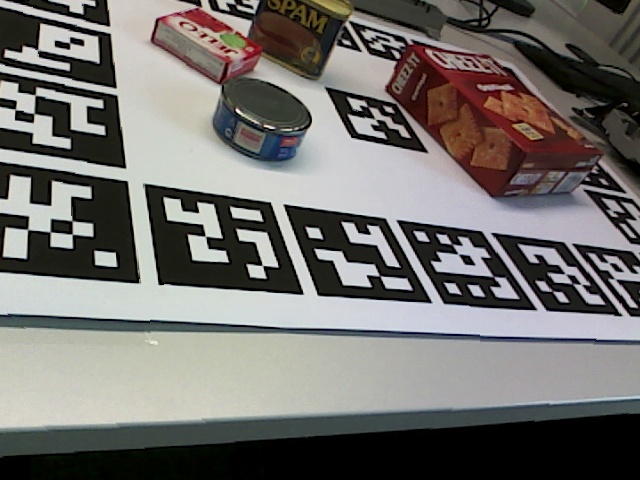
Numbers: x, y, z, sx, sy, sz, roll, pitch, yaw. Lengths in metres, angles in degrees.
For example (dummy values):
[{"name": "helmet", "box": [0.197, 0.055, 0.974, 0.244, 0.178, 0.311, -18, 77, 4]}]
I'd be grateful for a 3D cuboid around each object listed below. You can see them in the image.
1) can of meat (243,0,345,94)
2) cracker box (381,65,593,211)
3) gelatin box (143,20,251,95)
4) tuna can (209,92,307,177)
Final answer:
[{"name": "can of meat", "box": [-0.035, -0.230, 0.726, 0.102, 0.084, 0.058, 25, 35, -2]}, {"name": "cracker box", "box": [0.206, -0.131, 0.766, 0.163, 0.072, 0.215, -6, 46, -40]}, {"name": "gelatin box", "box": [-0.128, -0.196, 0.655, 0.089, 0.030, 0.073, 34, 33, 5]}, {"name": "tuna can", "box": [-0.058, -0.097, 0.570, 0.085, 0.034, 0.086, 17, 40, -15]}]
